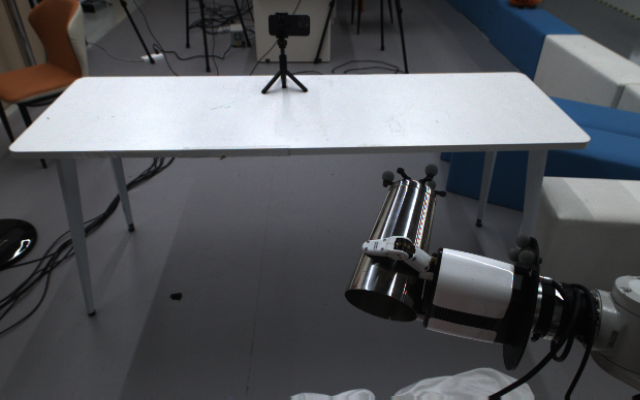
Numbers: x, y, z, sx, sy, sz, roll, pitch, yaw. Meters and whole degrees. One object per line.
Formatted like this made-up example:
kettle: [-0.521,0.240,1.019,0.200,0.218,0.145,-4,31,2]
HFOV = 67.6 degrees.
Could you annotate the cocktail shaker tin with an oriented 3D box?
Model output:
cocktail shaker tin: [0.100,0.059,0.628,0.093,0.093,0.170,13,59,16]
